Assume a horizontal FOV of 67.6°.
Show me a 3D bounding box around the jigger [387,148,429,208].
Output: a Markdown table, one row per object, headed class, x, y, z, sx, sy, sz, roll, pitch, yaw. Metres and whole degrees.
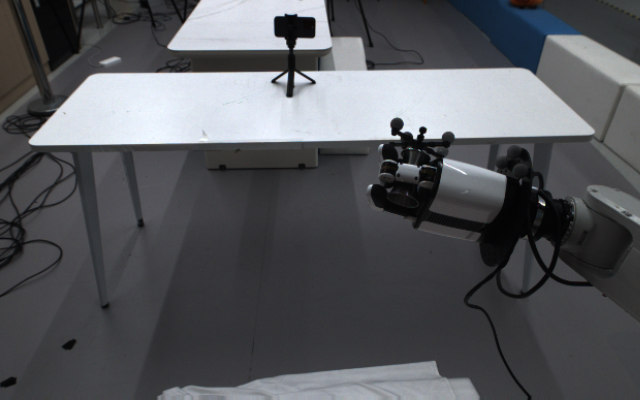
| class | x | y | z | sx | sy | sz | roll | pitch | yaw |
| --- | --- | --- | --- | --- | --- | --- | --- | --- | --- |
| jigger | 0.120 | -0.030 | 0.644 | 0.043 | 0.043 | 0.071 | 13 | 72 | 15 |
